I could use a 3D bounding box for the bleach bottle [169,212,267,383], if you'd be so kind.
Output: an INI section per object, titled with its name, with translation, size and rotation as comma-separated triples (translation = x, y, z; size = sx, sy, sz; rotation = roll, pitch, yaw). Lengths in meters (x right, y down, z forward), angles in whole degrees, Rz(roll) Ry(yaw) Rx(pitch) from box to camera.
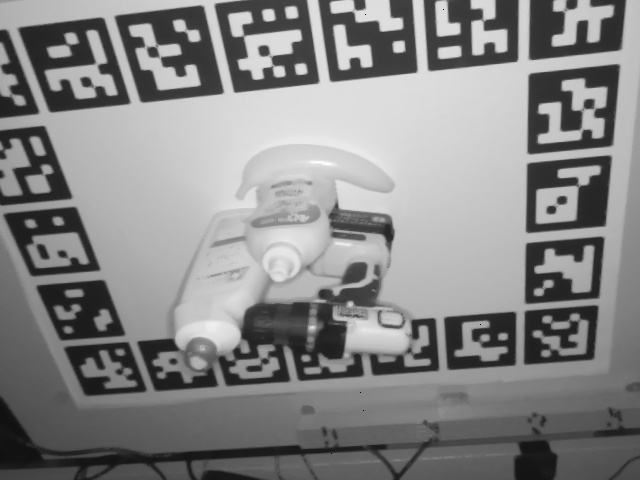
[bleach bottle]
translation = -0.106, 0.062, 0.791
size = 0.102, 0.253, 0.067
rotation = -2, 124, 6

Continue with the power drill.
[power drill]
translation = 0.006, 0.062, 0.789
size = 0.184, 0.189, 0.057
rotation = 7, 120, 2

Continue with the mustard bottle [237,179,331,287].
[mustard bottle]
translation = -0.042, -0.006, 0.778
size = 0.096, 0.193, 0.058
rotation = -4, 118, 8

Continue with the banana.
[banana]
translation = -0.020, -0.075, 0.838
size = 0.197, 0.039, 0.073
rotation = -2, 117, 2
